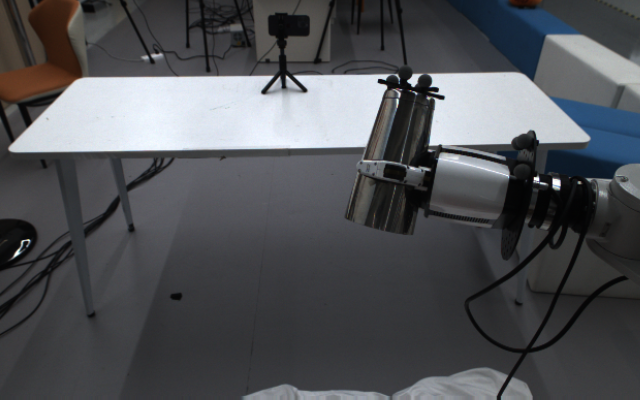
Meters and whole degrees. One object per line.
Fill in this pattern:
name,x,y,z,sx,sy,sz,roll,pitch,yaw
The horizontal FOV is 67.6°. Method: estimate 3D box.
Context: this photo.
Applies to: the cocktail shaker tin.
cocktail shaker tin,0.096,-0.050,0.619,0.093,0.170,0.093,13,4,-1
